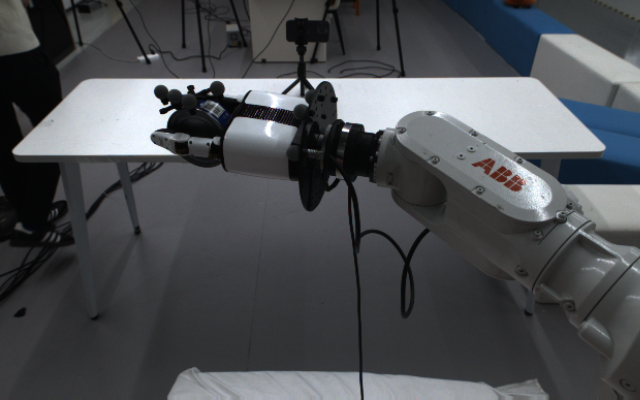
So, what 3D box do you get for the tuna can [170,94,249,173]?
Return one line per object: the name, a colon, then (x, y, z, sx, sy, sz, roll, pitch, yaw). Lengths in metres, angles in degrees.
tuna can: (-0.149, -0.086, 0.625, 0.085, 0.085, 0.034, 10, 38, 12)
